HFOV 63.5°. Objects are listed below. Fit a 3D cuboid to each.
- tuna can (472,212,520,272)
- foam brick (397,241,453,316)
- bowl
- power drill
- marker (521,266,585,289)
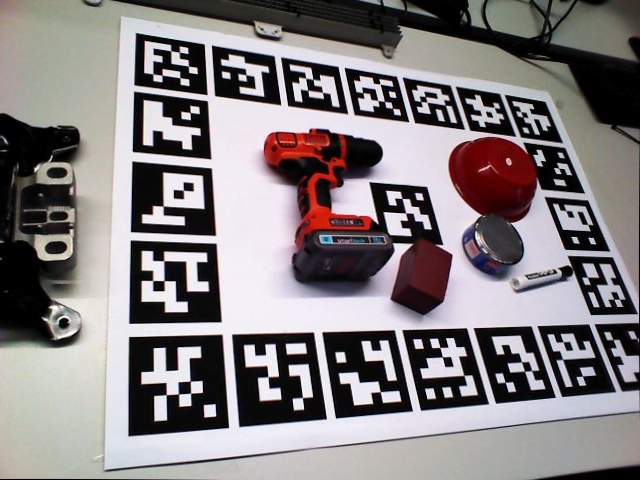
[{"bbox_3d":[0.268,0.003,0.764,0.085,0.034,0.085,11,59,-19],"label":"tuna can"},{"bbox_3d":[0.143,0.052,0.685,0.051,0.053,0.077,24,58,-9],"label":"foam brick"},{"bbox_3d":[0.297,-0.110,0.838,0.161,0.055,0.160,9,53,-12],"label":"bowl"},{"bbox_3d":[0.021,-0.054,0.690,0.184,0.058,0.186,3,59,-24],"label":"power drill"},{"bbox_3d":[0.353,0.055,0.777,0.120,0.020,0.019,-7,67,-25],"label":"marker"}]
